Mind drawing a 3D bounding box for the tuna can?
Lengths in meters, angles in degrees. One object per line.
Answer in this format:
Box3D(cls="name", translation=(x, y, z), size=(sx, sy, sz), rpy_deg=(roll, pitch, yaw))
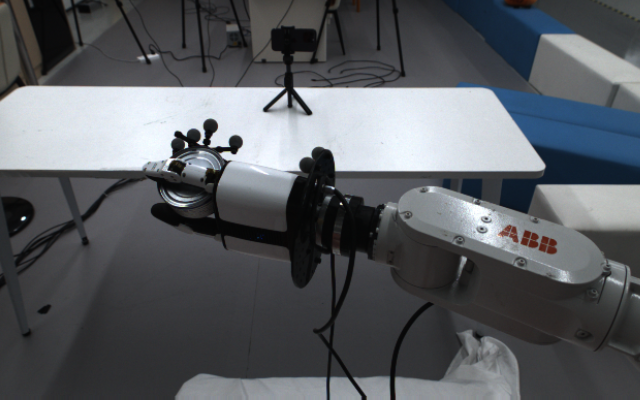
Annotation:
Box3D(cls="tuna can", translation=(-0.151, -0.021, 0.588), size=(0.085, 0.034, 0.085), rpy_deg=(-6, 58, 10))
